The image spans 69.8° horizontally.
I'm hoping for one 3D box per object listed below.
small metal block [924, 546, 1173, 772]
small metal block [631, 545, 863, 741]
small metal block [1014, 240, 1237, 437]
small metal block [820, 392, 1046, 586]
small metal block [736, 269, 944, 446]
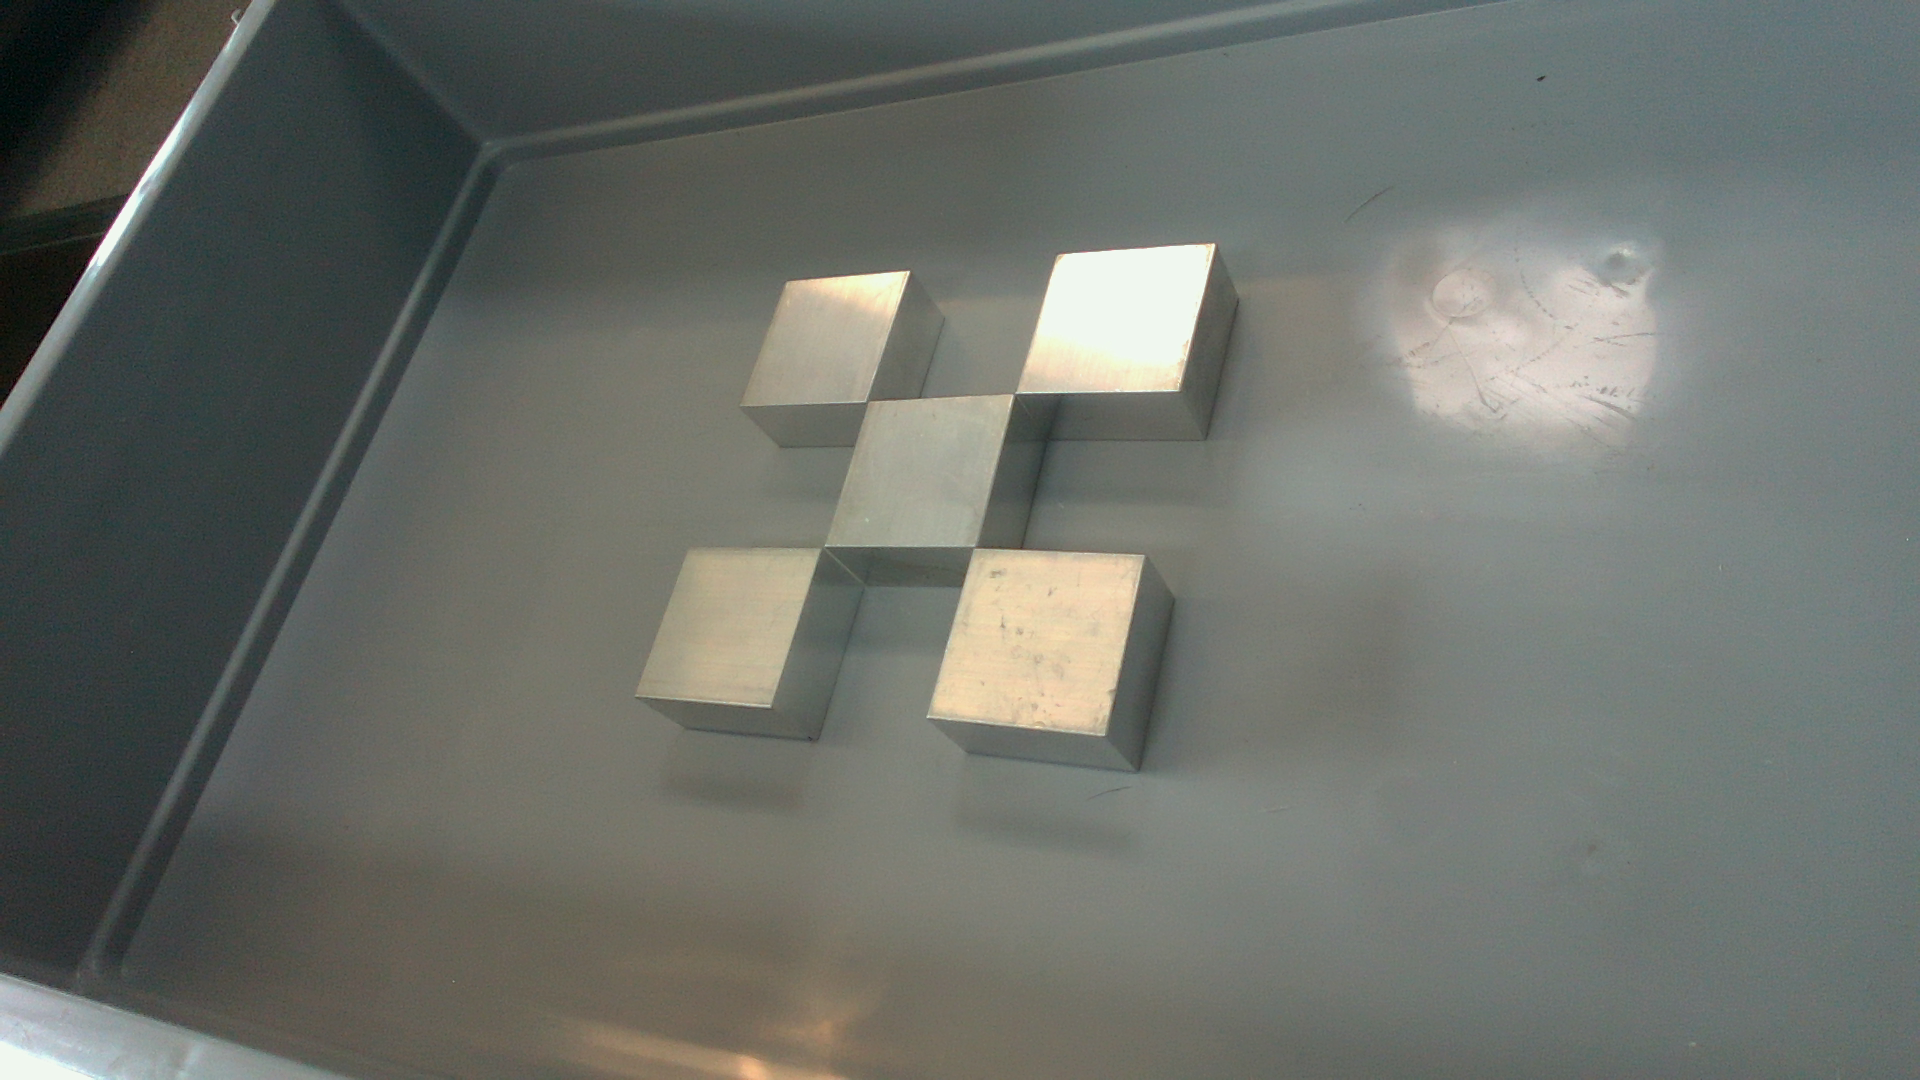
[{"bbox_3d":[0.024,0.030,0.360,0.050,0.025,0.050,1,62,29],"label":"small metal block"},{"bbox_3d":[-0.062,0.030,0.407,0.050,0.025,0.050,1,62,29],"label":"small metal block"},{"bbox_3d":[0.049,-0.058,0.400,0.050,0.025,0.050,2,63,30],"label":"small metal block"},{"bbox_3d":[-0.007,-0.015,0.404,0.050,0.025,0.050,0,62,29],"label":"small metal block"},{"bbox_3d":[-0.039,-0.059,0.449,0.050,0.025,0.050,2,62,29],"label":"small metal block"}]
